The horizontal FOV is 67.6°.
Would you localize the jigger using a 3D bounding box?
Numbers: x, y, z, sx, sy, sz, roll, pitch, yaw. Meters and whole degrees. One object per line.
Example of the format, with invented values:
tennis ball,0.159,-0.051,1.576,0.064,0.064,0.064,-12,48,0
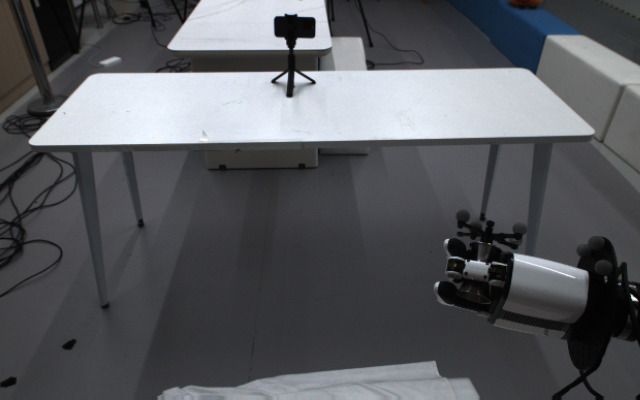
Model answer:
jigger,0.204,0.090,0.610,0.043,0.043,0.071,13,69,15
